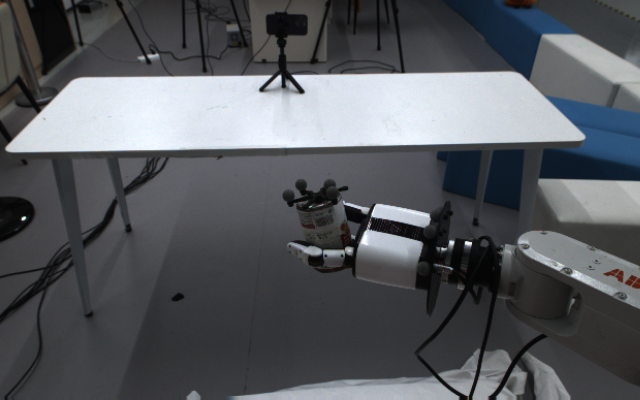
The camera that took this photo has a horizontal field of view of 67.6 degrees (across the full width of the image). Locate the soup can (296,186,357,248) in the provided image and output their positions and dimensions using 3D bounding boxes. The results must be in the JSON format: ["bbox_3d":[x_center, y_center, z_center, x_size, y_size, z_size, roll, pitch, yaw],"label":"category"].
[{"bbox_3d":[0.011,0.045,0.695,0.067,0.101,0.067,-13,20,5],"label":"soup can"}]
